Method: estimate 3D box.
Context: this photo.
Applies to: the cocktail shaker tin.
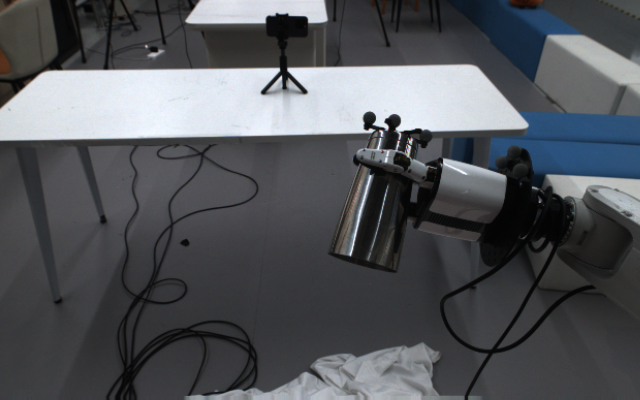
[{"bbox_3d":[0.079,-0.003,0.630,0.093,0.093,0.170,13,79,15],"label":"cocktail shaker tin"}]
